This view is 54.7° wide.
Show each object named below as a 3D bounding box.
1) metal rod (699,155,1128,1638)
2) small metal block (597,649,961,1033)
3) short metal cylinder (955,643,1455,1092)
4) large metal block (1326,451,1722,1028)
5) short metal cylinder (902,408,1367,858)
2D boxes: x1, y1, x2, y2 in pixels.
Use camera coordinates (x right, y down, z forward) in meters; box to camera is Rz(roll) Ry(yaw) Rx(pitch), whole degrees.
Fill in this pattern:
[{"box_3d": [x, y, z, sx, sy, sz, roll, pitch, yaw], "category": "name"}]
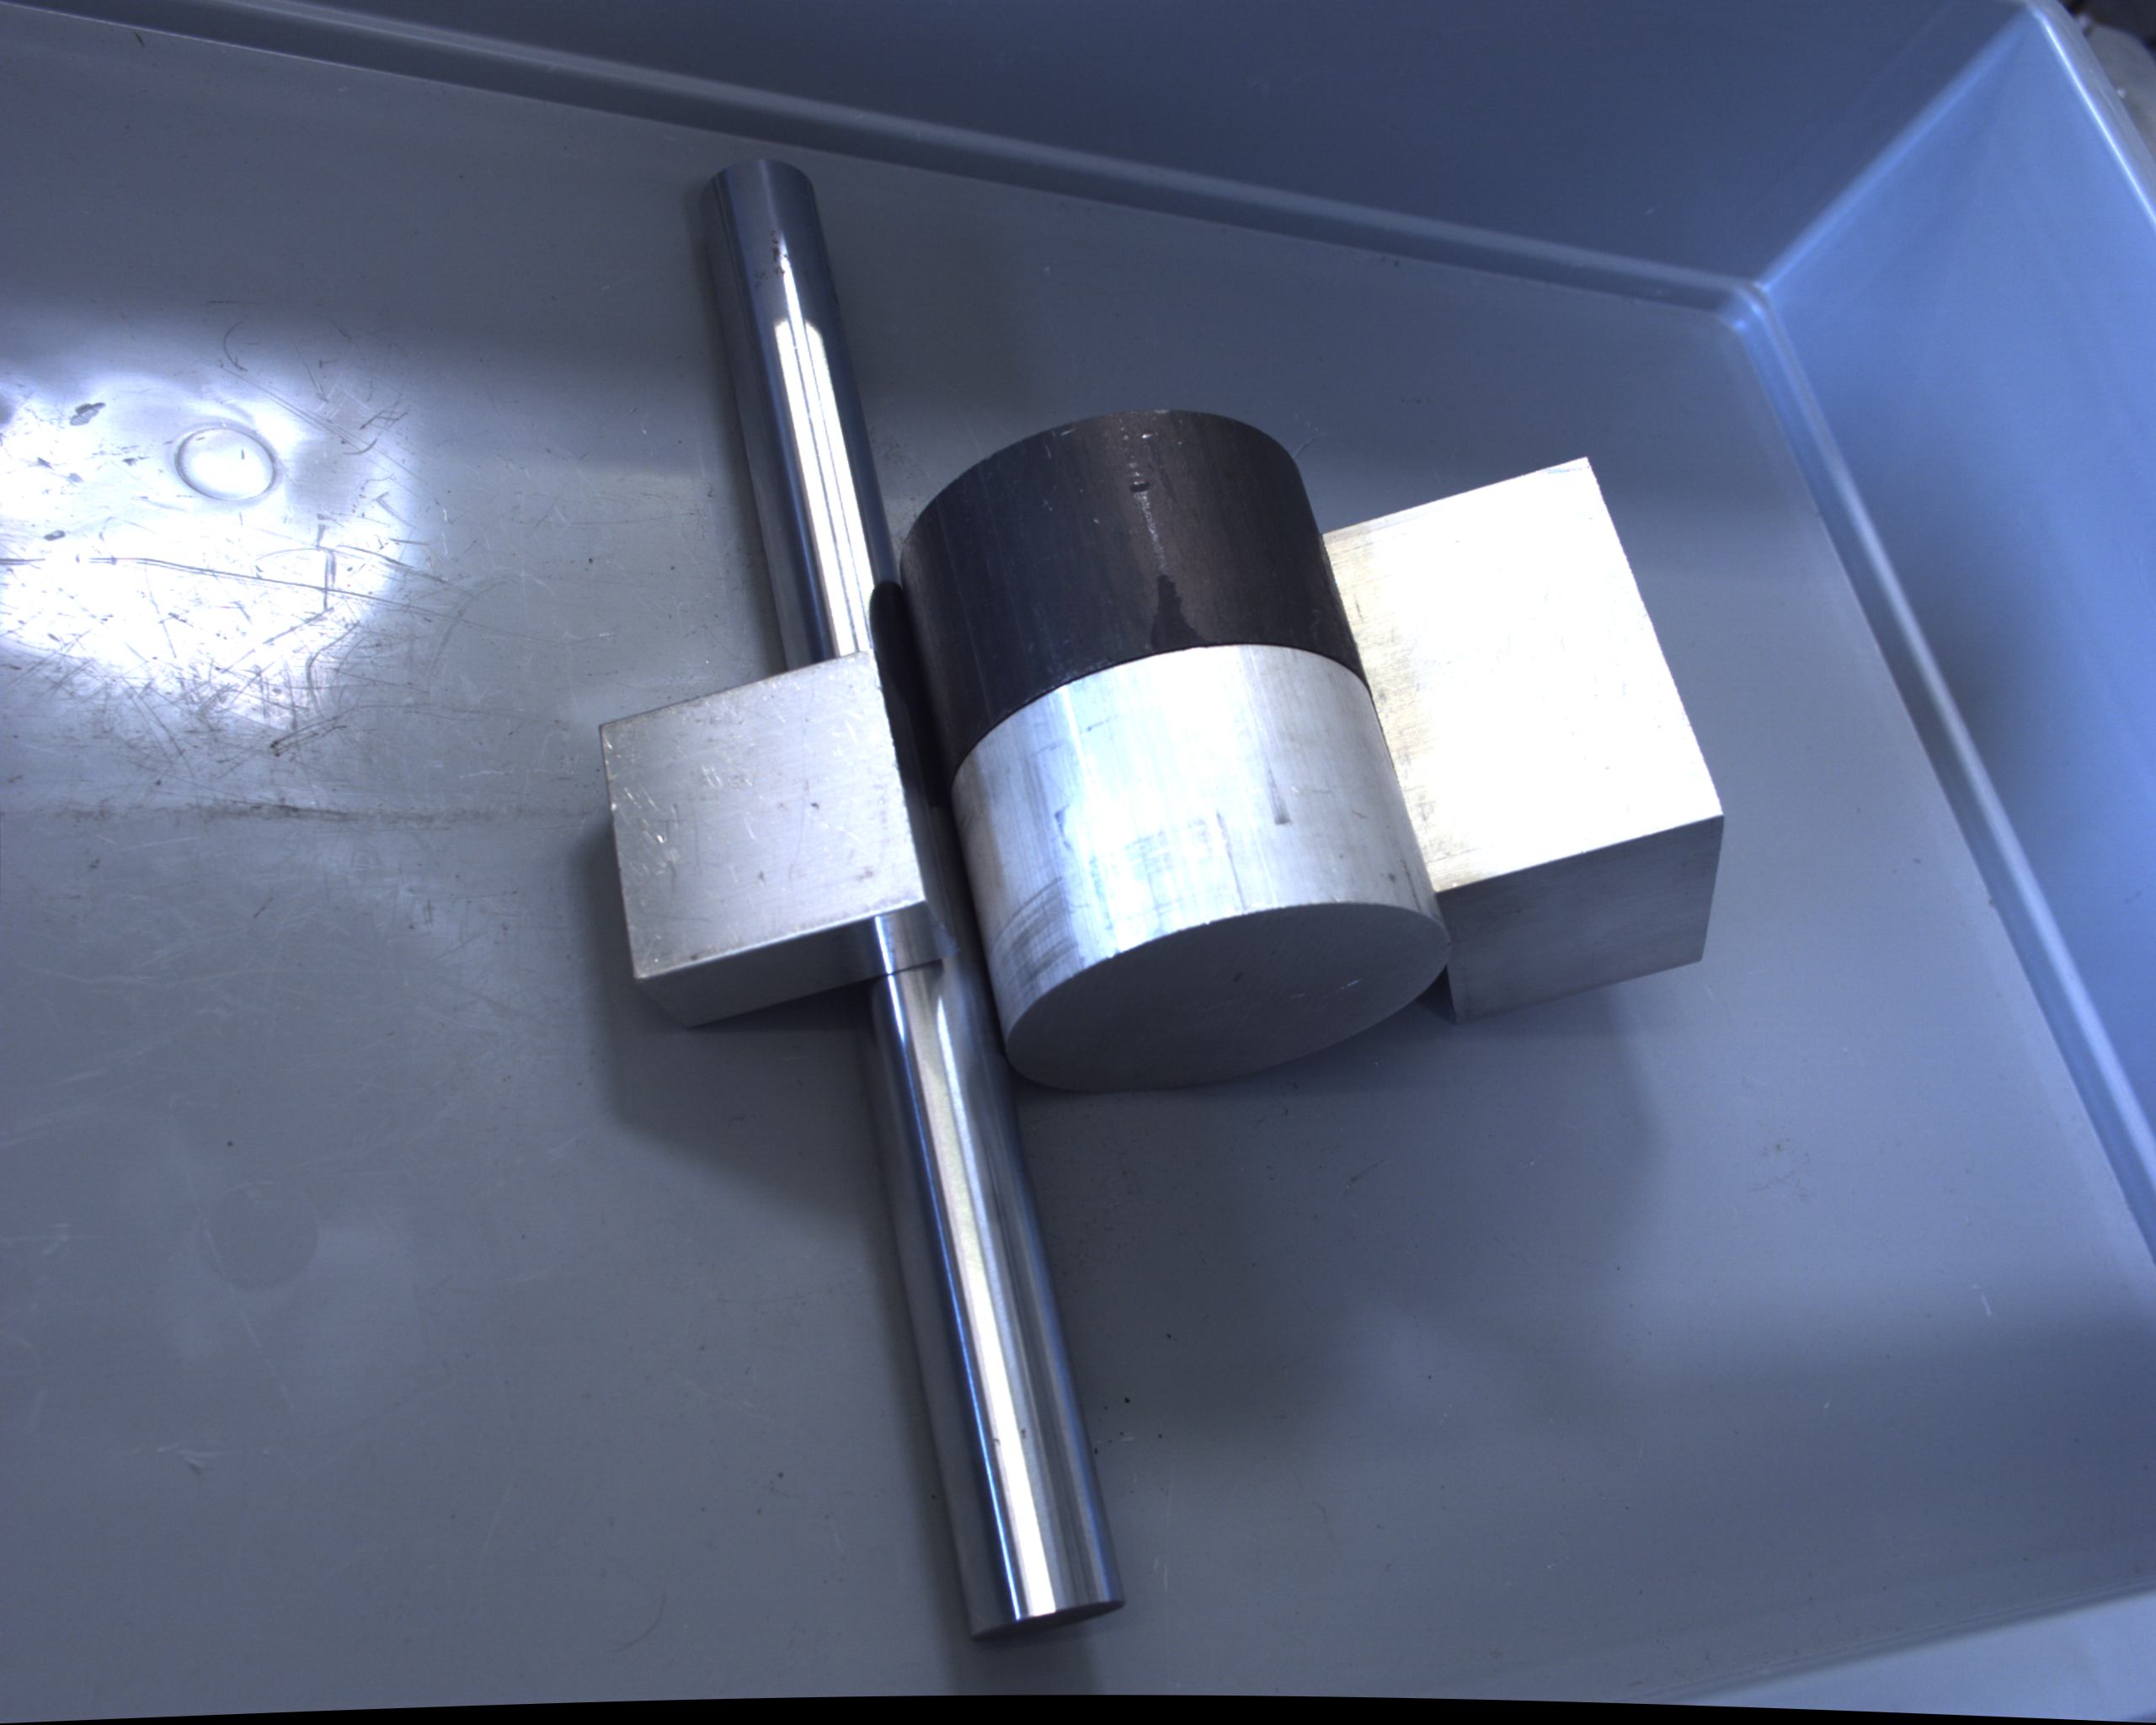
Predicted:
[{"box_3d": [-0.037, -0.013, 0.390, 0.025, 0.025, 0.299, 0, 62, -28], "category": "metal rod"}, {"box_3d": [-0.052, -0.004, 0.363, 0.050, 0.025, 0.050, -16, 64, 3], "category": "small metal block"}, {"box_3d": [0.022, 0.003, 0.377, 0.081, 0.080, 0.050, 0, 62, -28], "category": "short metal cylinder"}, {"box_3d": [0.089, -0.022, 0.420, 0.050, 0.080, 0.080, -16, 65, 6], "category": "large metal block"}, {"box_3d": [0.011, -0.042, 0.399, 0.081, 0.080, 0.050, 0, 62, -28], "category": "short metal cylinder"}]
